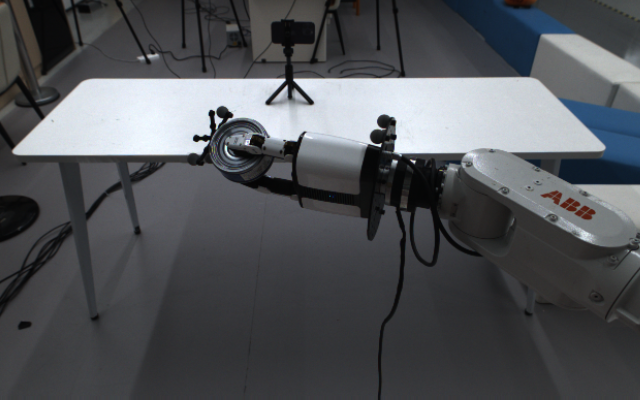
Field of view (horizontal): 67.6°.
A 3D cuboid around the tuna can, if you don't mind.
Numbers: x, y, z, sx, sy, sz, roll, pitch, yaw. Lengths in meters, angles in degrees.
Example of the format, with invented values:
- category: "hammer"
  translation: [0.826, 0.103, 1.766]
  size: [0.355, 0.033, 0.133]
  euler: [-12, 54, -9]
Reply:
- category: "tuna can"
  translation: [-0.106, -0.070, 0.664]
  size: [0.085, 0.034, 0.085]
  euler: [-3, 70, 9]
